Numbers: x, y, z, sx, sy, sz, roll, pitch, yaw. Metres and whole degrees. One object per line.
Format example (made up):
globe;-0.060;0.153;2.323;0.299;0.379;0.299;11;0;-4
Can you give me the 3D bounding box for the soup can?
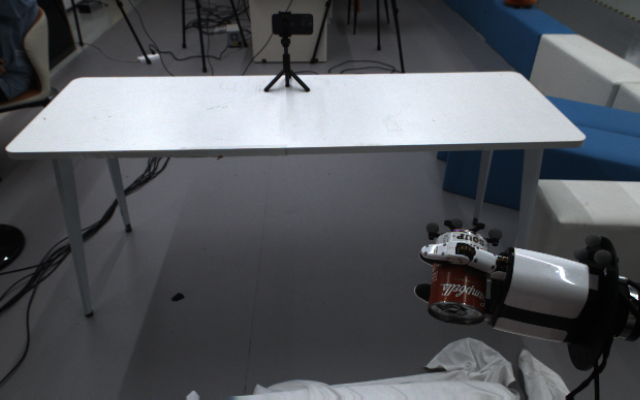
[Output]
soup can;0.176;0.095;0.607;0.067;0.067;0.101;9;59;10
